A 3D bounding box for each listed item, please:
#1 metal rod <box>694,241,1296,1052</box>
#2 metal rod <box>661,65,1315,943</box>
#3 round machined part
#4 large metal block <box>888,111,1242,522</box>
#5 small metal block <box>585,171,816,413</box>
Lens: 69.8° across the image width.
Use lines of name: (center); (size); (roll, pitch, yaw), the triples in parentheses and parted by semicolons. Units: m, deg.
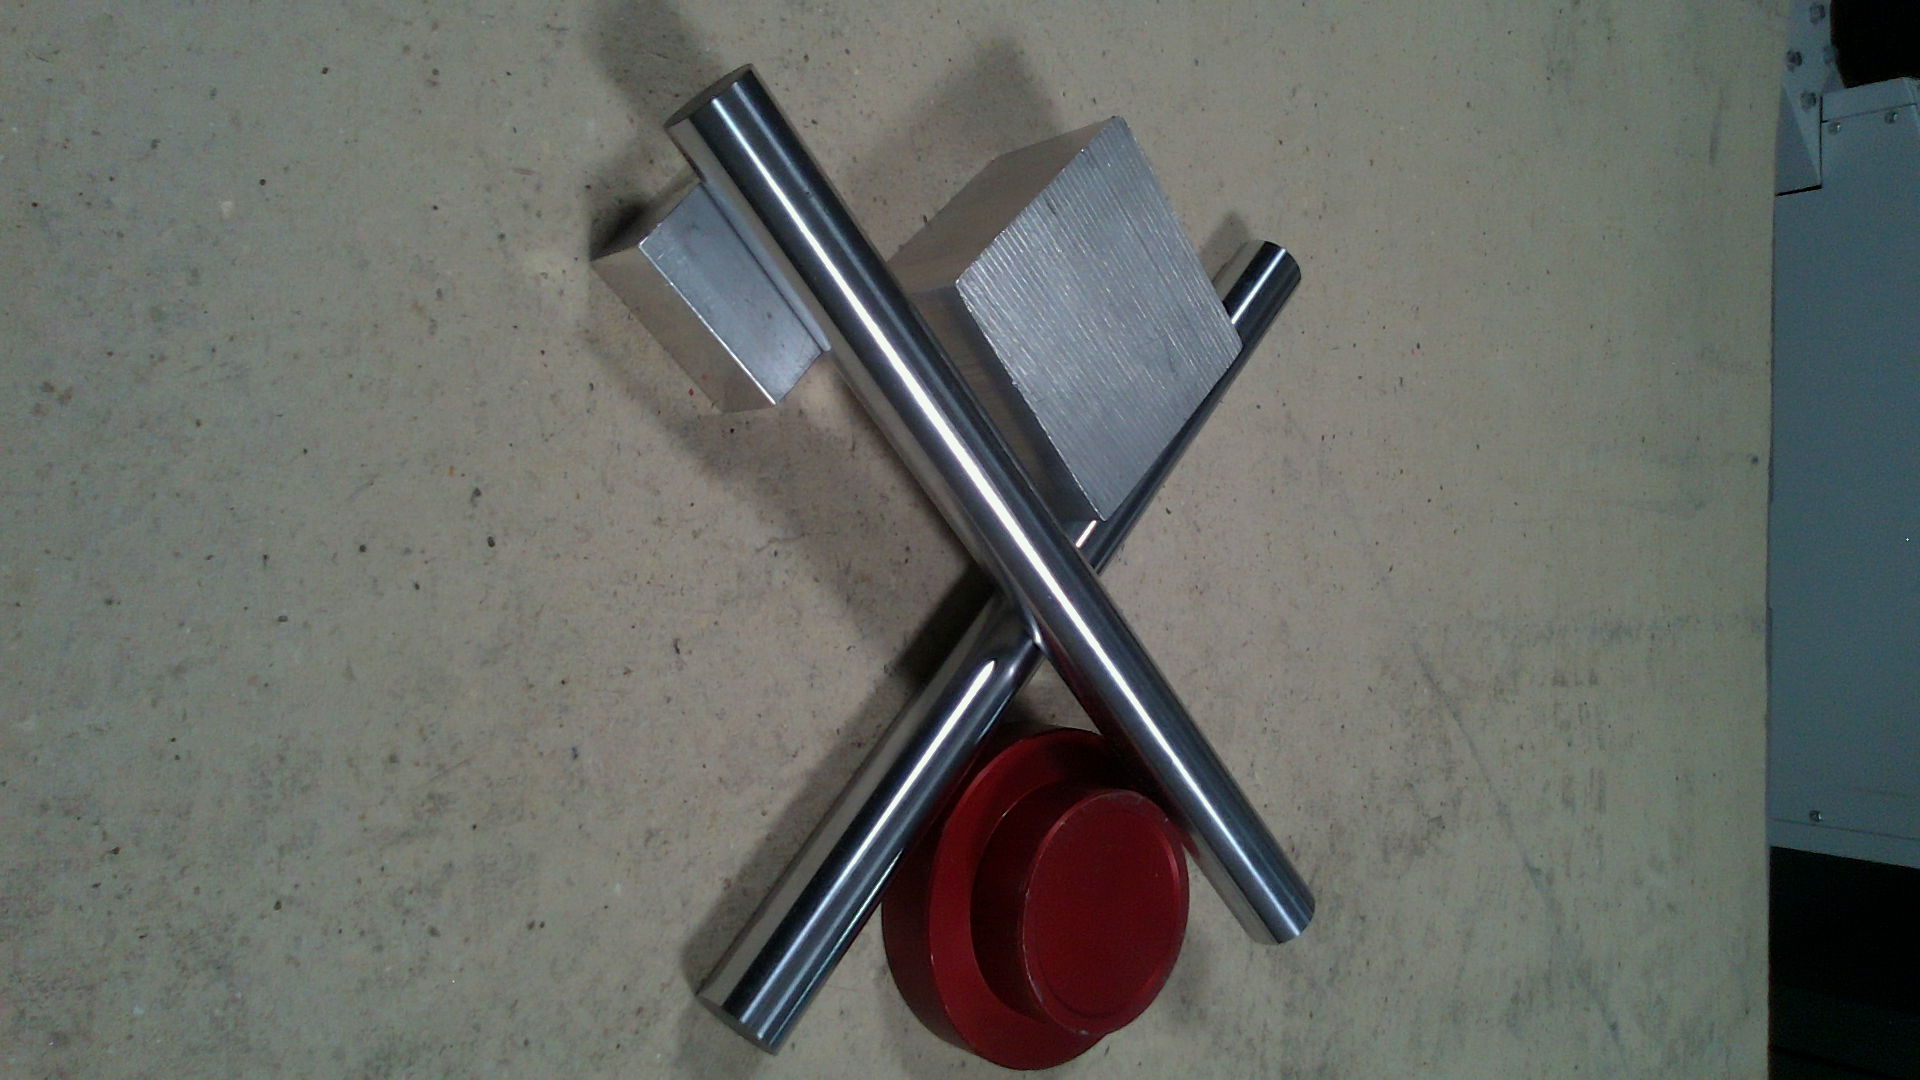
metal rod: (0.024, 0.013, 0.411); (0.025, 0.025, 0.301); (52, 60, -27)
metal rod: (0.023, 0.010, 0.375); (0.025, 0.025, 0.301); (-51, 120, -28)
round machined part: (0.029, 0.104, 0.402); (0.098, 0.042, 0.098); (0, 90, -40)
large metal block: (0.025, -0.061, 0.395); (0.080, 0.050, 0.080); (-49, 119, -28)
small metal block: (-0.055, -0.068, 0.345); (0.050, 0.025, 0.050); (50, 60, -28)
